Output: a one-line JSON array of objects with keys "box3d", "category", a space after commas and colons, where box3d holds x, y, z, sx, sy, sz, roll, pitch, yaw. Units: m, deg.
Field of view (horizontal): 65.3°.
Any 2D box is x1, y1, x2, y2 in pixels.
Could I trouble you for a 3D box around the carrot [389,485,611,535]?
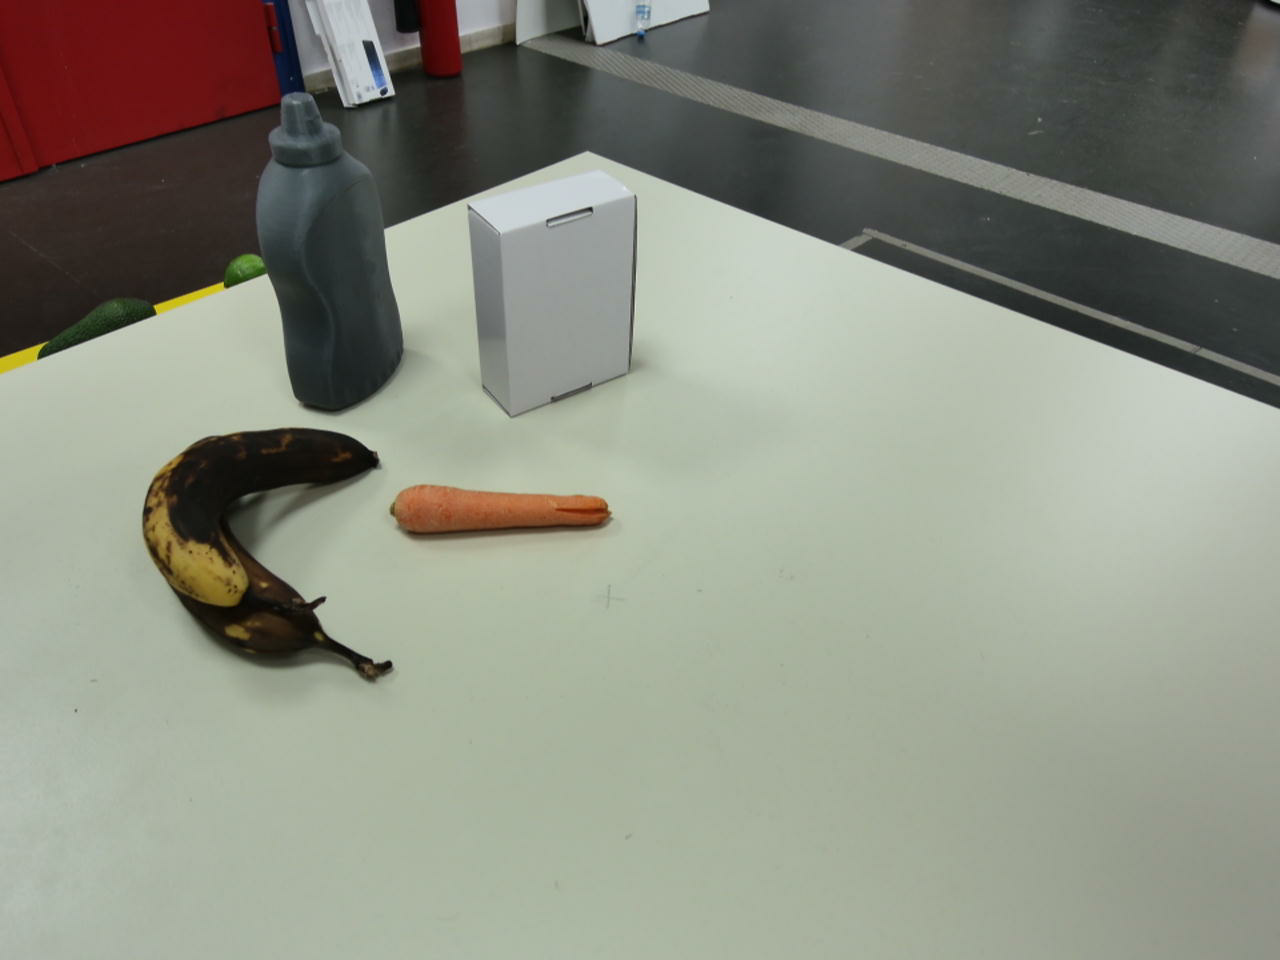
[{"box3d": [-0.085, 0.017, 0.620, 0.136, 0.032, 0.030, -1, 38, -3], "category": "carrot"}]
